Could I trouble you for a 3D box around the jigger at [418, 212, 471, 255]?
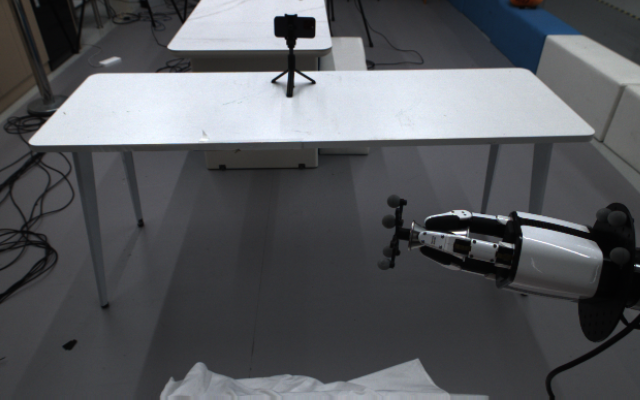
[{"bbox_3d":[0.152,0.046,0.597,0.071,0.043,0.043,8,35,15],"label":"jigger"}]
